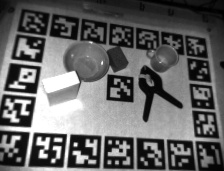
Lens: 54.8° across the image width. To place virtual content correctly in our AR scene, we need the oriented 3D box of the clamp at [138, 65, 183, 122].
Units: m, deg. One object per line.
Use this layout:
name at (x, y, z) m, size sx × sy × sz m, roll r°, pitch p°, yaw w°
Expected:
clamp at (0.156, 0.015, 0.805) m, size 0.166 × 0.036 × 0.202 m, roll -19°, pitch 79°, yaw -16°

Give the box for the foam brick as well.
foam brick at (0.022, -0.091, 0.811) m, size 0.053 × 0.051 × 0.078 m, roll -23°, pitch 80°, yaw -17°

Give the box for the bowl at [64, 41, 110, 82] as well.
bowl at (-0.091, -0.076, 0.772) m, size 0.162 × 0.055 × 0.161 m, roll 4°, pitch 72°, yaw -13°

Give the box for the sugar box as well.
sugar box at (-0.155, 0.027, 0.661) m, size 0.093 × 0.176 × 0.045 m, roll -21°, pitch 79°, yaw -18°

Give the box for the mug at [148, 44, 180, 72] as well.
mug at (0.193, -0.110, 0.833) m, size 0.117 × 0.081 × 0.093 m, roll 30°, pitch 69°, yaw -6°
